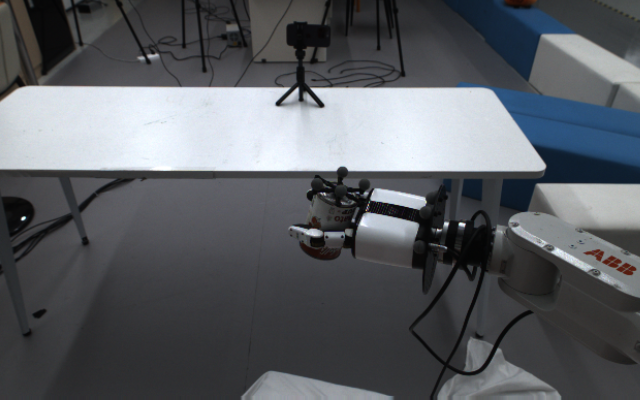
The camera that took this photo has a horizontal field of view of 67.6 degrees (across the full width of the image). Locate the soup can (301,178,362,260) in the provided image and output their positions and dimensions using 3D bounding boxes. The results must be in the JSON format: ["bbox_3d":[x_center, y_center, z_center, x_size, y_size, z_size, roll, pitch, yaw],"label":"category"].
[{"bbox_3d":[0.014,0.032,0.731,0.067,0.101,0.067,13,30,-8],"label":"soup can"}]
